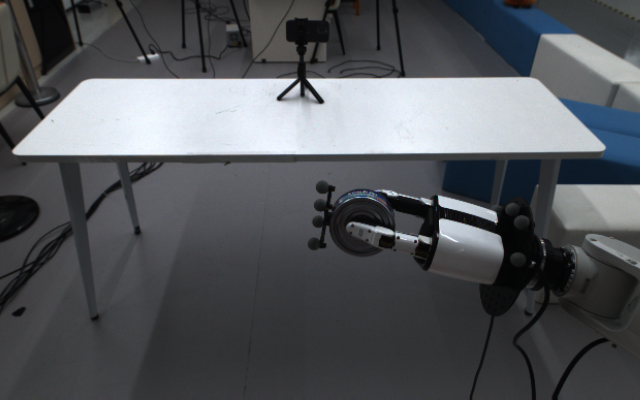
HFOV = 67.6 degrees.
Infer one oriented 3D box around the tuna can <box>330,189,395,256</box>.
[{"bbox_3d":[0.058,0.033,0.630,0.085,0.085,0.034,4,18,3],"label":"tuna can"}]
